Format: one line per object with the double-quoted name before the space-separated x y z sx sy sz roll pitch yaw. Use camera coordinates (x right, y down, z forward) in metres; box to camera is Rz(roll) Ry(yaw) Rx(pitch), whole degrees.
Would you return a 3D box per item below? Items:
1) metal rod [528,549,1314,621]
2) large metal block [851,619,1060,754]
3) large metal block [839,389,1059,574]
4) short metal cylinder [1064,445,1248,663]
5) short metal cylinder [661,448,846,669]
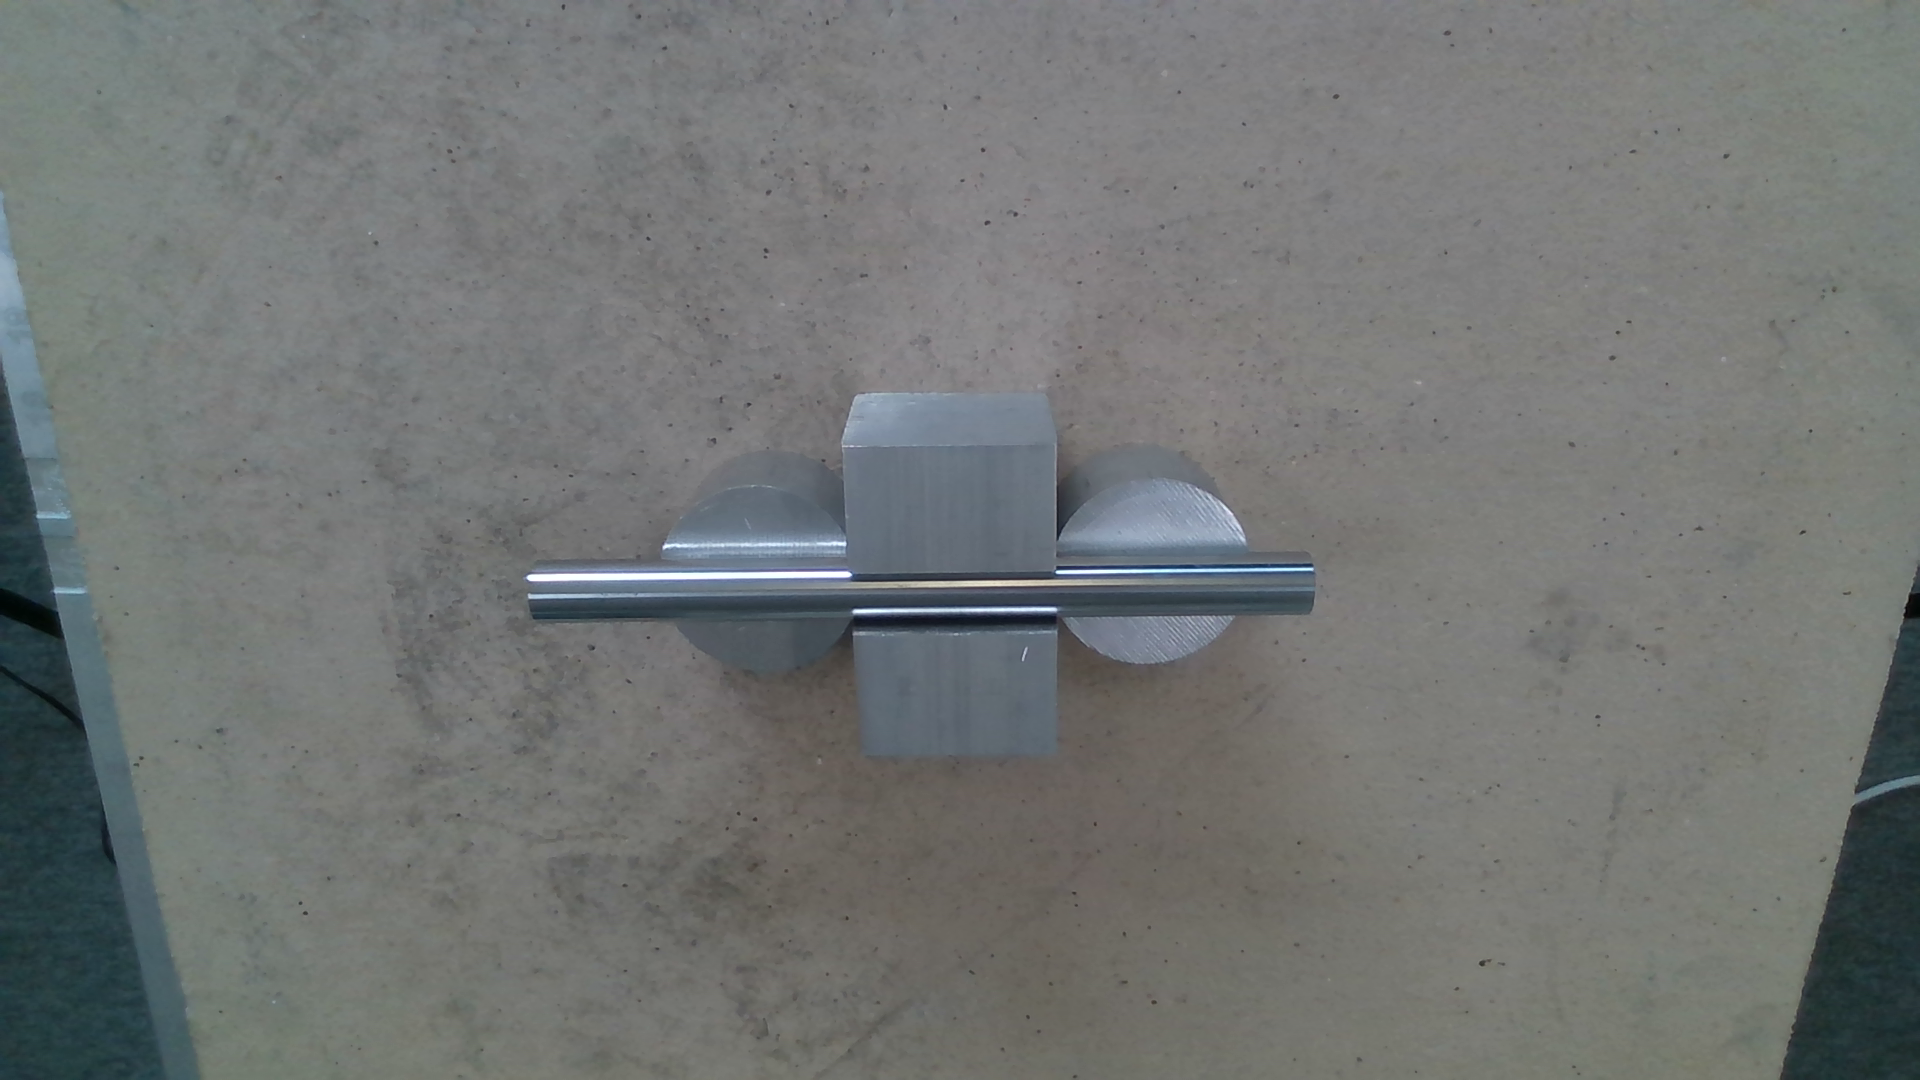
"metal rod" -0.015 0.018 0.538 0.300 0.025 0.025 -1 110 0
"large metal block" -0.002 0.047 0.573 0.080 0.080 0.050 -1 110 0
"large metal block" -0.004 -0.025 0.546 0.080 0.080 0.050 -1 110 0
"short metal cylinder" 0.076 0.004 0.573 0.080 0.050 0.080 0 110 -1
"short metal cylinder" -0.081 0.007 0.575 0.080 0.050 0.080 0 110 -1
